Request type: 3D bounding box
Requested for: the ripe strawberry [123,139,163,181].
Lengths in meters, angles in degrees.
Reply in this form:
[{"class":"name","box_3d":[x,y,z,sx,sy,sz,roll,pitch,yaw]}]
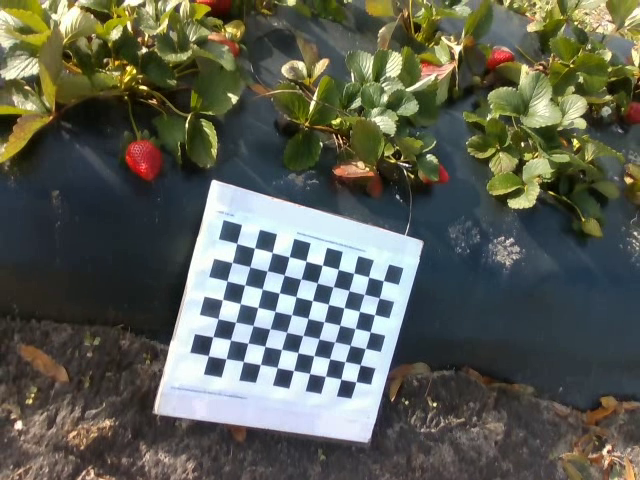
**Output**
[{"class":"ripe strawberry","box_3d":[-0.154,-0.068,0.685,0.041,0.041,0.047,-15,47,-12]}]
